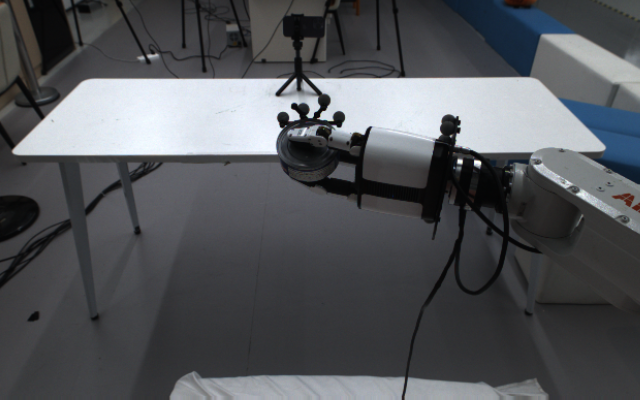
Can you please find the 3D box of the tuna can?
[{"bbox_3d":[-0.014,-0.064,0.654,0.085,0.034,0.085,-1,58,2],"label":"tuna can"}]
